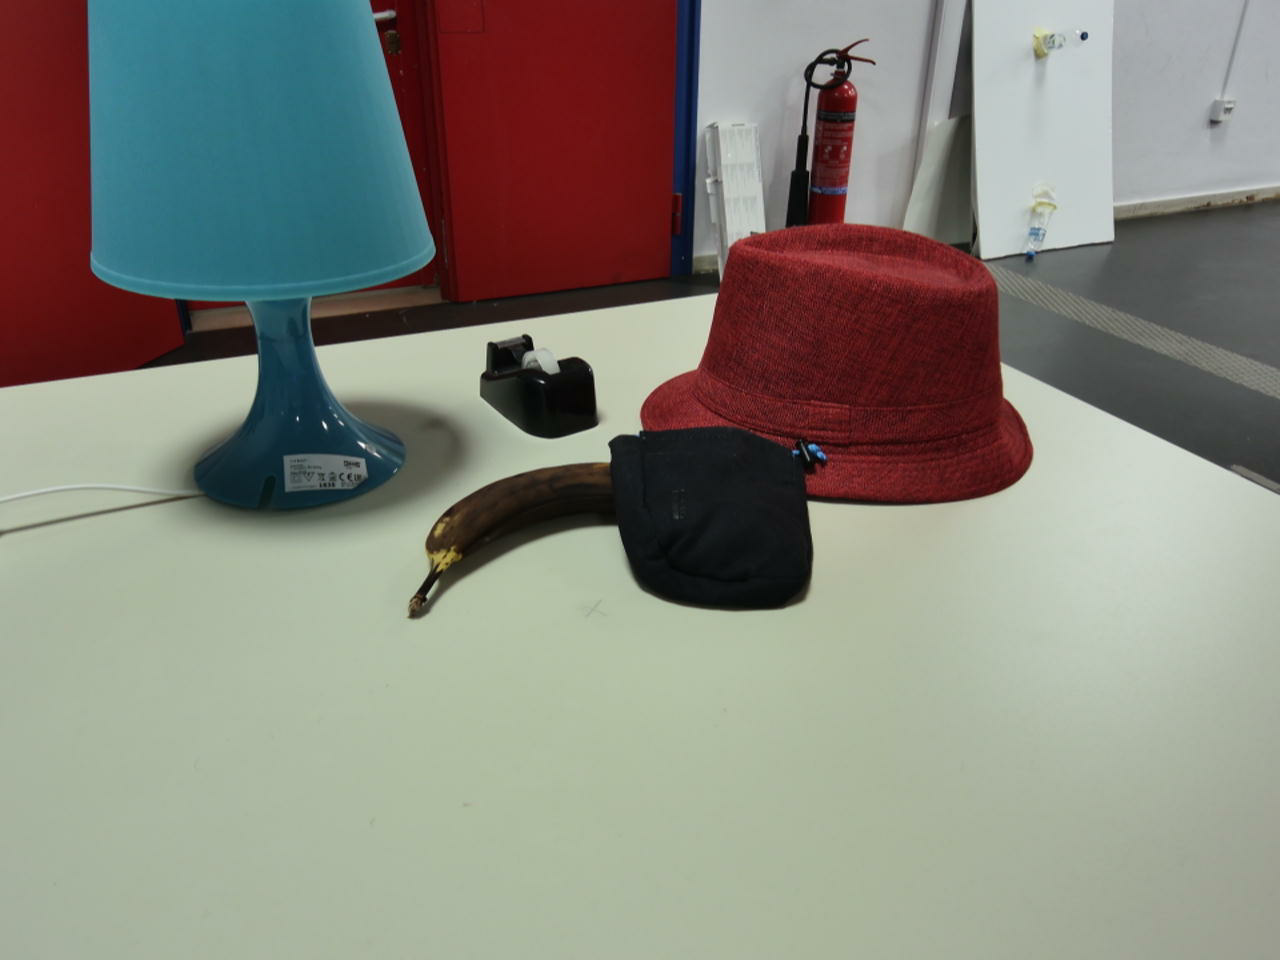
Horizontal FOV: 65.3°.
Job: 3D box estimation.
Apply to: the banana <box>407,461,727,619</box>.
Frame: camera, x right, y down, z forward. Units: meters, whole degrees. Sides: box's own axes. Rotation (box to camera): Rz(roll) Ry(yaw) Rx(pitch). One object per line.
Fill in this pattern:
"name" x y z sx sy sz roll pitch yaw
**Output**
"banana" -0.049 0.020 0.572 0.188 0.034 0.091 -11 28 -21
